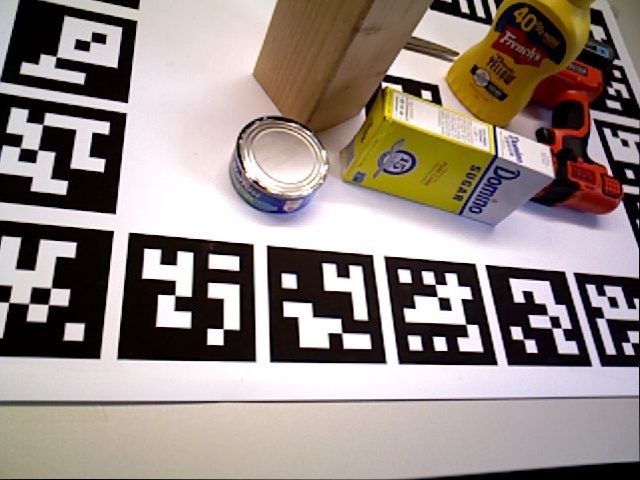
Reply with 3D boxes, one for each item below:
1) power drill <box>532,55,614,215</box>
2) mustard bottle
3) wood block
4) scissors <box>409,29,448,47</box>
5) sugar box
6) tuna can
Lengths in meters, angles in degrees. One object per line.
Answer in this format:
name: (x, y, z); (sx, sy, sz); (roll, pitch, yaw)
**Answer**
power drill: (0.245, -0.131, 0.609); (0.183, 0.058, 0.185); (18, 68, -13)
mustard bottle: (0.218, -0.207, 0.563); (0.057, 0.196, 0.096); (-38, 84, -31)
wood block: (0.019, -0.196, 0.472); (0.089, 0.211, 0.090); (-25, 77, -30)
scissors: (0.057, -0.242, 0.610); (0.200, 0.016, 0.086); (8, 60, -18)
sugar box: (0.124, -0.073, 0.515); (0.175, 0.095, 0.044); (18, 57, -15)
tuna can: (-0.038, -0.071, 0.478); (0.085, 0.034, 0.085); (9, 64, -19)
